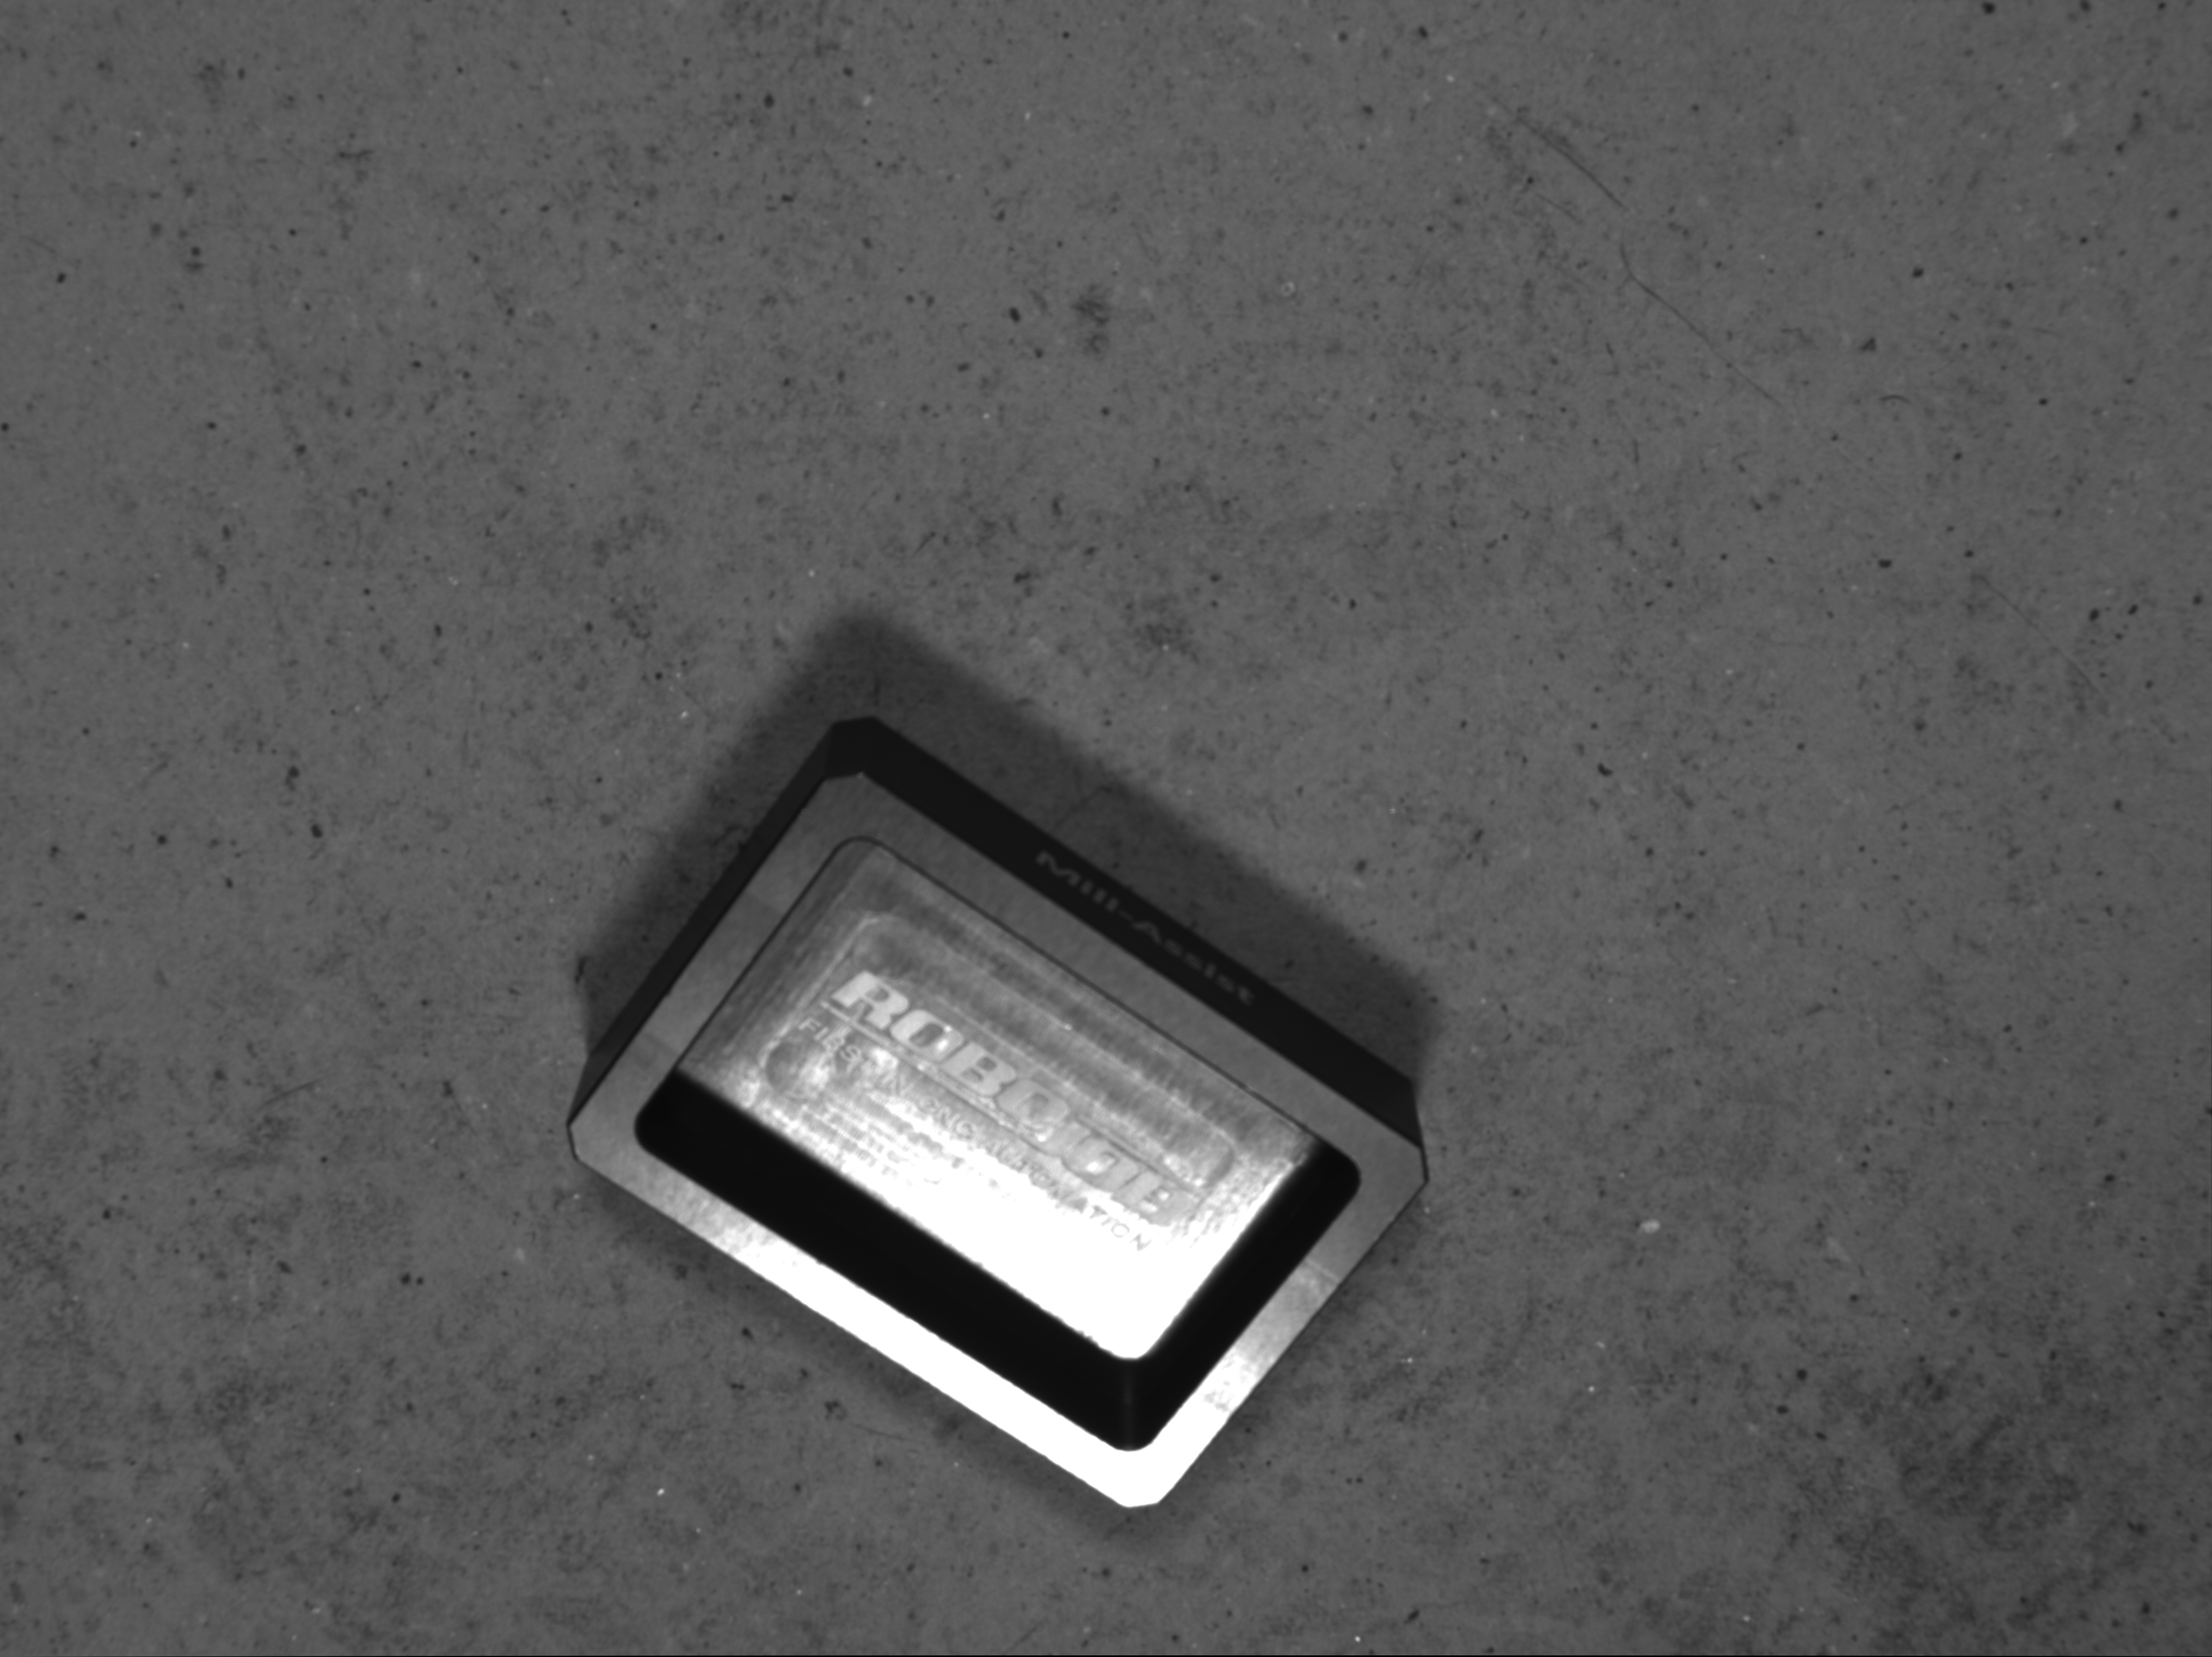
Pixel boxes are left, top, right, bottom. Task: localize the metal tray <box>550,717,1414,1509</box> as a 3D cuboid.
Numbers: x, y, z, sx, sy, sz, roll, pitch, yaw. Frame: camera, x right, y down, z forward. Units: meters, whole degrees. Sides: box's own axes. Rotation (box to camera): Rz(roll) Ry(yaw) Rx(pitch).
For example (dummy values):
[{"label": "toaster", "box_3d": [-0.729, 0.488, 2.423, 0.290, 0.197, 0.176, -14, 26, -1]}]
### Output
[{"label": "metal tray", "box_3d": [-0.022, 0.052, 0.659, 0.130, 0.030, 0.090, 34, 106, -12]}]
